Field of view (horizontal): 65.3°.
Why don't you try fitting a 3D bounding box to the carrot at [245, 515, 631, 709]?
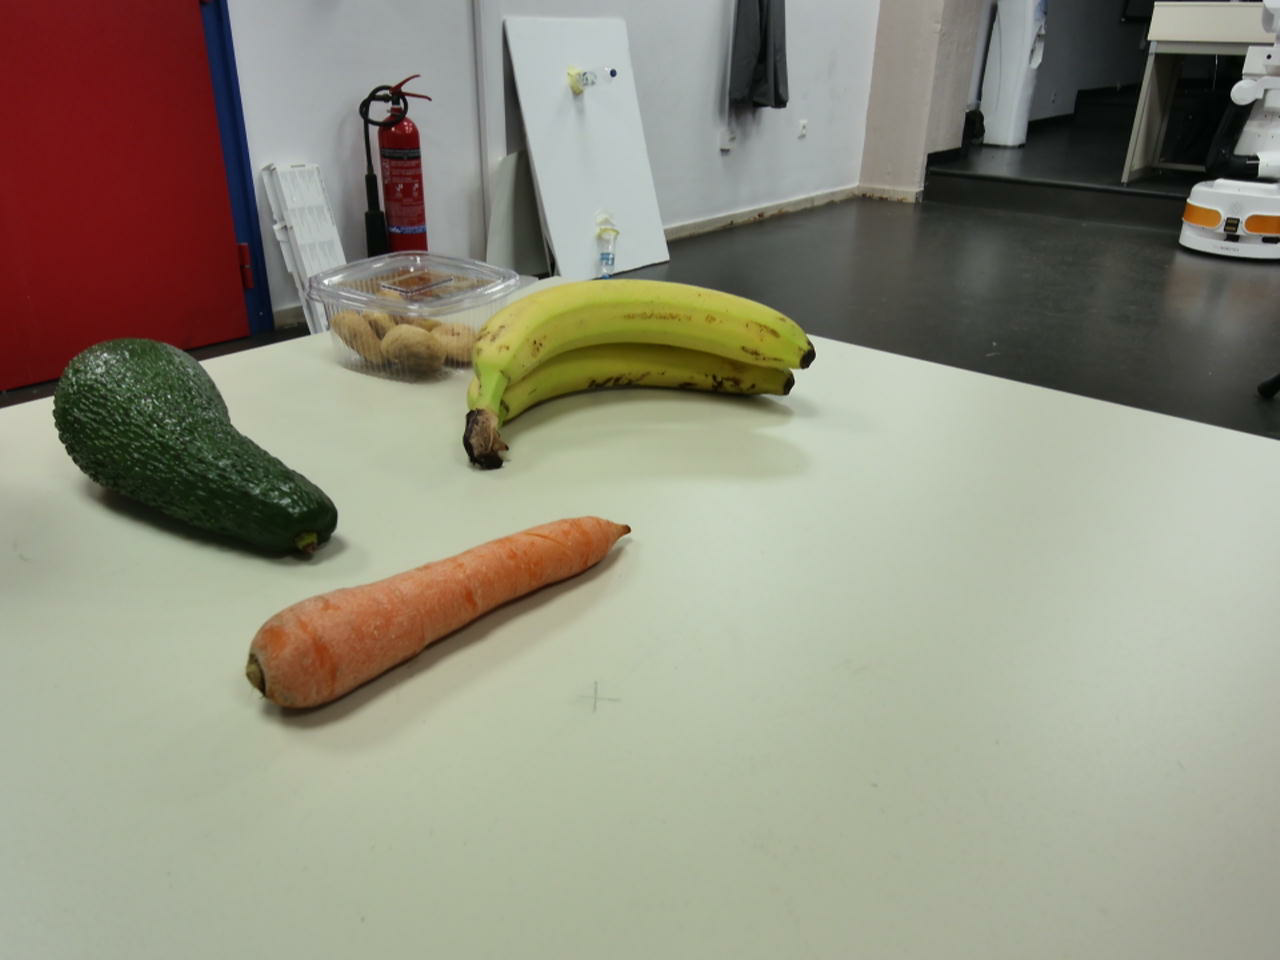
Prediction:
[{"bbox_3d":[-0.072,0.041,0.419,0.039,0.041,0.196,18,29,36],"label":"carrot"}]
